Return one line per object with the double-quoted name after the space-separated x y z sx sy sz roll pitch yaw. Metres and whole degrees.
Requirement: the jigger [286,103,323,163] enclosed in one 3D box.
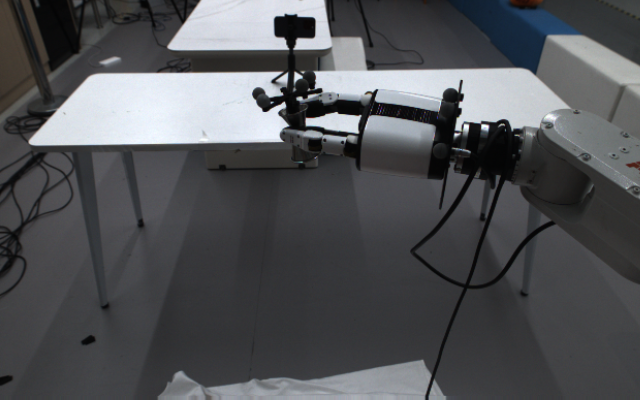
-0.025 -0.088 0.641 0.043 0.071 0.043 -12 29 7 "jigger"
